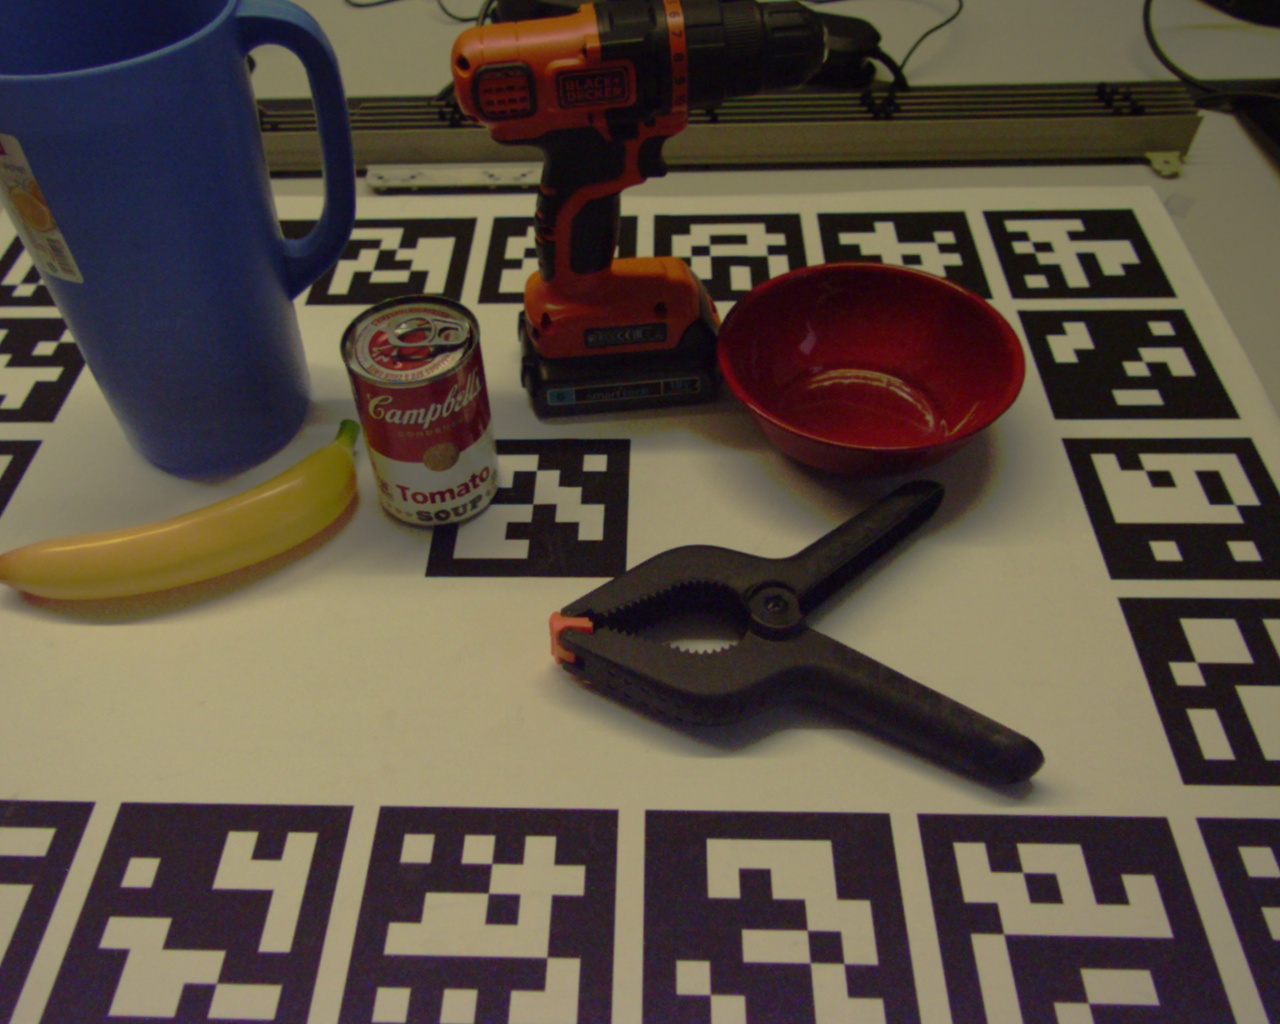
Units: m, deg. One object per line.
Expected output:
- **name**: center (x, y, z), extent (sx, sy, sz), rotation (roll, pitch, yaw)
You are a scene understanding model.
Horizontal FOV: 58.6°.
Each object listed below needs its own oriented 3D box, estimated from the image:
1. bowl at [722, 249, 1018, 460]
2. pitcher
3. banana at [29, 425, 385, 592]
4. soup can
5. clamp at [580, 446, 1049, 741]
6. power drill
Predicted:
- **bowl**: center (0.127, -0.082, 0.653), extent (0.162, 0.055, 0.162), rotation (-2, 49, 2)
- **pitcher**: center (-0.223, -0.148, 0.608), extent (0.187, 0.241, 0.135), rotation (-20, 47, -16)
- **banana**: center (-0.220, 0.005, 0.608), extent (0.196, 0.038, 0.075), rotation (-21, 42, -17)
- **soup can**: center (-0.099, -0.059, 0.615), extent (0.068, 0.101, 0.068), rotation (-2, 39, 1)
- **clamp**: center (0.073, 0.040, 0.549), extent (0.203, 0.036, 0.166), rotation (-4, 52, -1)
- **power drill**: center (0.015, -0.177, 0.633), extent (0.184, 0.186, 0.058), rotation (-5, 48, -3)
